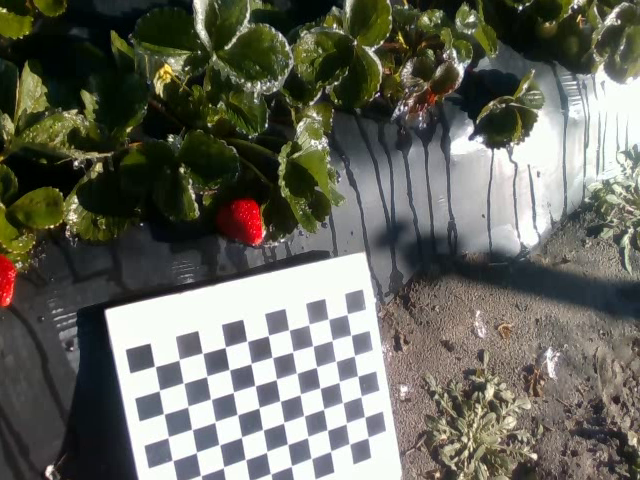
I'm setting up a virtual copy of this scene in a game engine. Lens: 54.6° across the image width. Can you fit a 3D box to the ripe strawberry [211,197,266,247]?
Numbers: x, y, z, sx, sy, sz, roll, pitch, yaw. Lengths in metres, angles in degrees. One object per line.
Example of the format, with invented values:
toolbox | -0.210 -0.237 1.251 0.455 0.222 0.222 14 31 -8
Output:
ripe strawberry | -0.075 -0.017 0.621 0.048 0.061 0.044 -20 -24 -24
